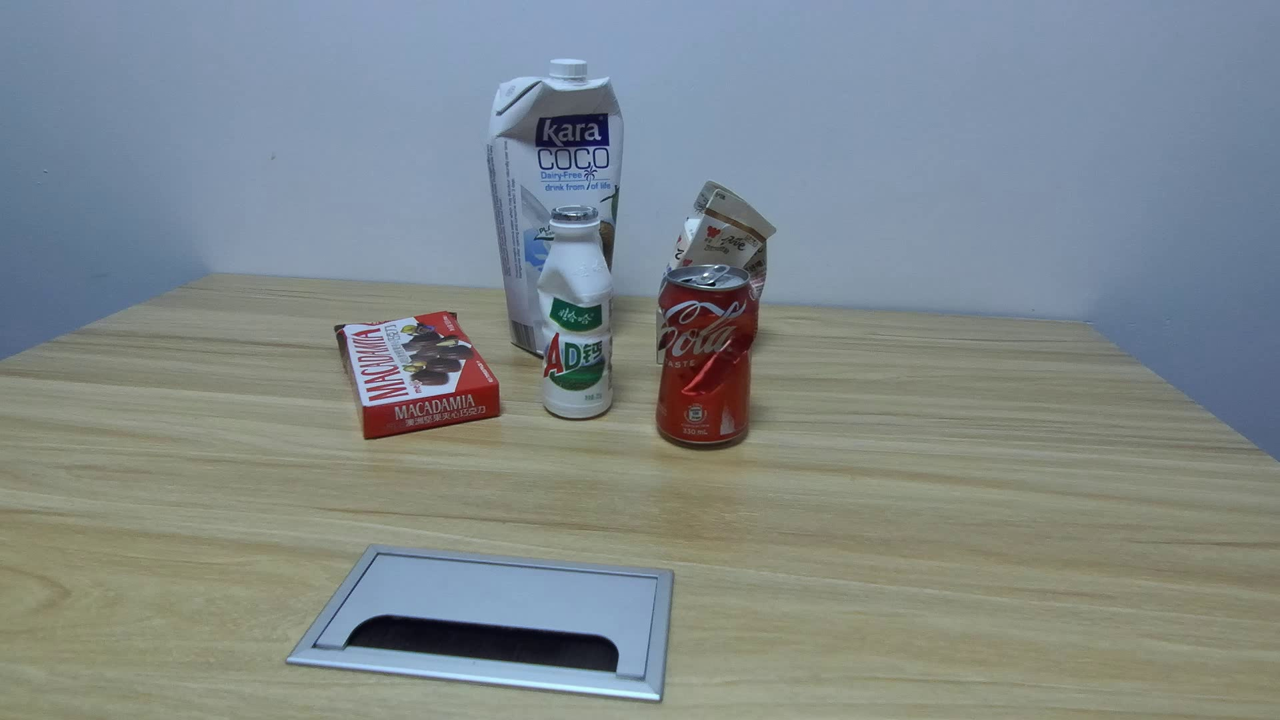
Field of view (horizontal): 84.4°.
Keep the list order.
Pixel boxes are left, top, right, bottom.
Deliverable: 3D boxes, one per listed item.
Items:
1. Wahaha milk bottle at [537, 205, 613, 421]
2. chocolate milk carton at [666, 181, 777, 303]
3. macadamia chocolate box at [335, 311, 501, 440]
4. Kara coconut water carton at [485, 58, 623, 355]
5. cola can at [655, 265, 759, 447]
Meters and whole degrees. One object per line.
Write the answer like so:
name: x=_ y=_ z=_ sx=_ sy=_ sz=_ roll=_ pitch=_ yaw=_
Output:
Wahaha milk bottle: x=-0.045 y=-0.032 z=0.498 sx=0.056 sy=0.148 sz=0.056 roll=2 pitch=23 yaw=-1
chocolate milk carton: x=0.064 y=-0.069 z=0.592 sx=0.089 sy=0.155 sz=0.076 roll=14 pitch=27 yaw=-4
macadamia chocolate box: x=-0.181 y=0.004 z=0.568 sx=0.106 sy=0.028 sz=0.182 roll=-10 pitch=26 yaw=-25
Kara coconut water carton: x=-0.070 y=-0.127 z=0.599 sx=0.115 sy=0.238 sz=0.069 roll=-14 pitch=26 yaw=-36
cola can: x=0.044 y=-0.004 z=0.475 sx=0.066 sy=0.117 sz=0.066 roll=1 pitch=23 yaw=0
